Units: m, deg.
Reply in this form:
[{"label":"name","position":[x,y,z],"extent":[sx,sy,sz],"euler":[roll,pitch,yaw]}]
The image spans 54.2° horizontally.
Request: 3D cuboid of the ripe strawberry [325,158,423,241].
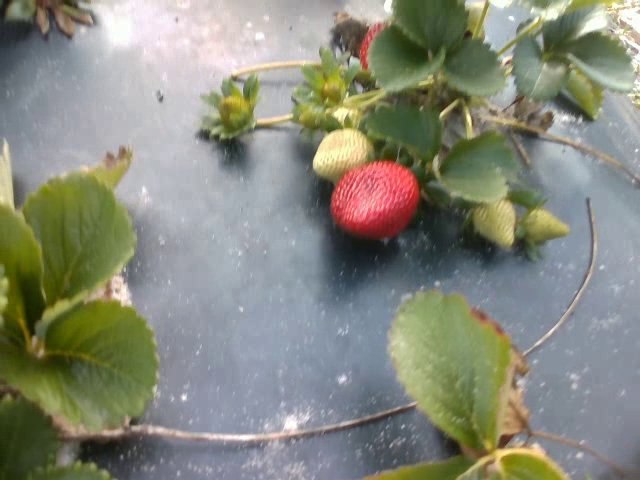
[{"label":"ripe strawberry","position":[0.023,-0.017,0.322],"extent":[0.051,0.048,0.055],"euler":[-7,15,27]}]
